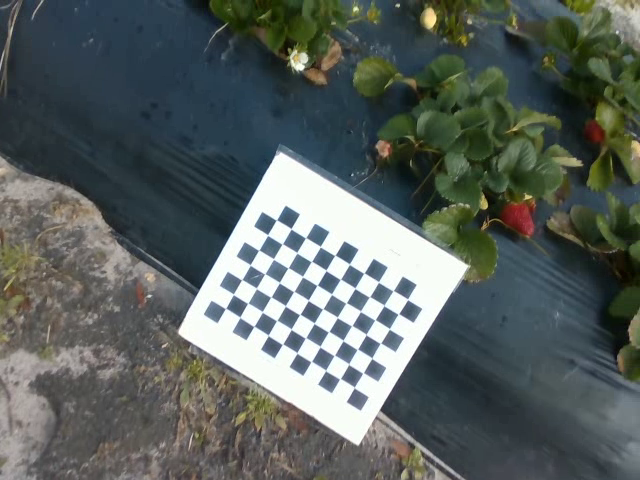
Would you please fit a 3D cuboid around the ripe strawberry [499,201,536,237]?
[{"bbox_3d":[0.262,-0.024,0.567,0.050,0.064,0.043,-27,5,7],"label":"ripe strawberry"}]
